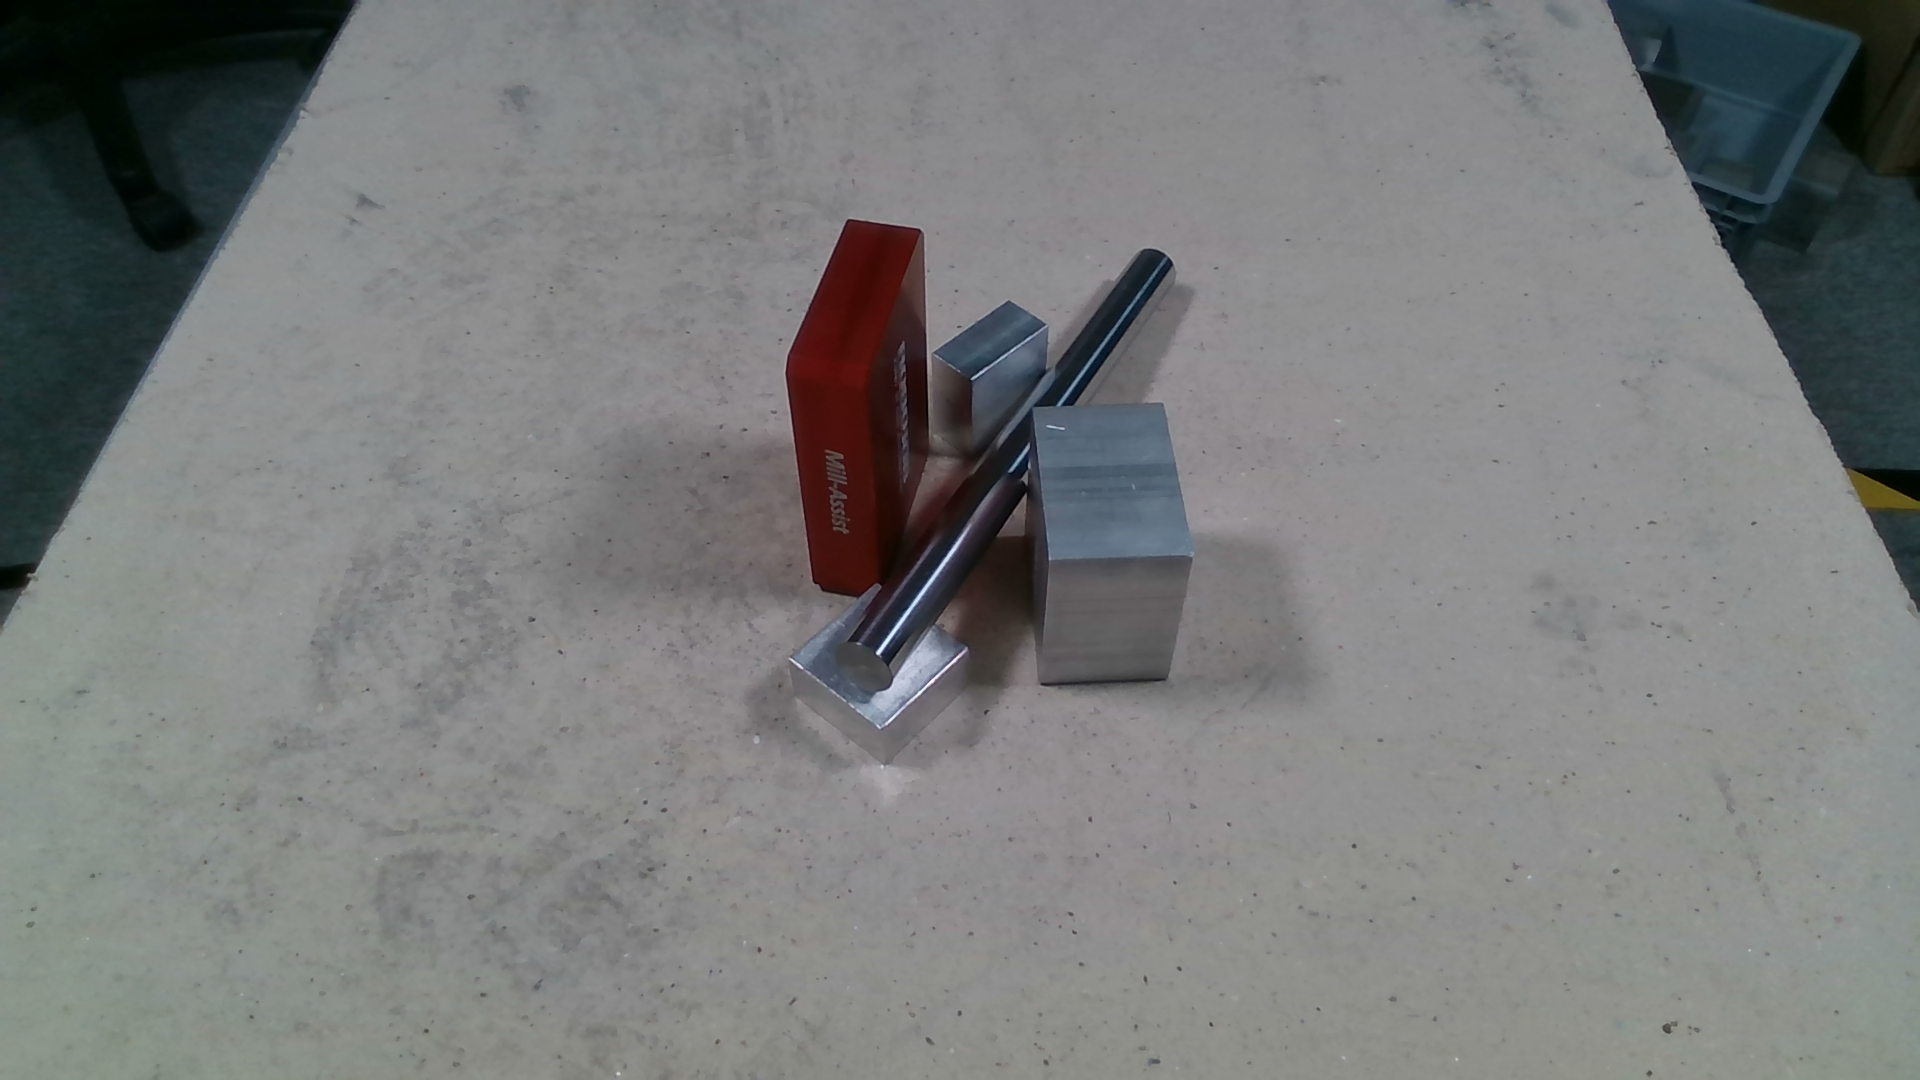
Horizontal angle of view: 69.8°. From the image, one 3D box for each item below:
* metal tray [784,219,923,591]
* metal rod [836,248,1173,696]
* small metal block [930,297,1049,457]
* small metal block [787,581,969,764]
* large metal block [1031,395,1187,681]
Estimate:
[{"bbox_3d":[-0.039,-0.052,0.562,0.030,0.130,0.090,10,51,8],"label":"metal tray"},{"bbox_3d":[0.031,-0.044,0.606,0.025,0.025,0.299,21,48,17],"label":"metal rod"},{"bbox_3d":[0.013,-0.075,0.633,0.025,0.050,0.050,37,59,27],"label":"small metal block"},{"bbox_3d":[-0.032,0.052,0.545,0.050,0.025,0.050,34,58,25],"label":"small metal block"},{"bbox_3d":[0.055,0.000,0.550,0.050,0.080,0.080,-2,50,-1],"label":"large metal block"}]
